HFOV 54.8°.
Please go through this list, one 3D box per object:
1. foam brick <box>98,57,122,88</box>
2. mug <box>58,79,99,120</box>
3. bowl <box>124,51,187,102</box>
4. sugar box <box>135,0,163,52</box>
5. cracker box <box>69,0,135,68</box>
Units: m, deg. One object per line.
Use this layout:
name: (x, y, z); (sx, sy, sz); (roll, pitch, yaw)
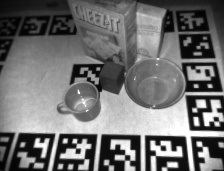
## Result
foam brick: (-0.005, -0.038, 0.612); (0.052, 0.078, 0.051); (14, 63, 15)
mug: (-0.093, 0.039, 0.568); (0.117, 0.082, 0.092); (-9, 52, 4)
bowl: (0.114, -0.012, 0.581); (0.161, 0.055, 0.161); (-2, 62, 5)
sugar box: (0.091, -0.164, 0.609); (0.092, 0.178, 0.045); (19, 65, 18)
cracker box: (-0.022, -0.161, 0.600); (0.162, 0.215, 0.072); (27, 66, 20)
